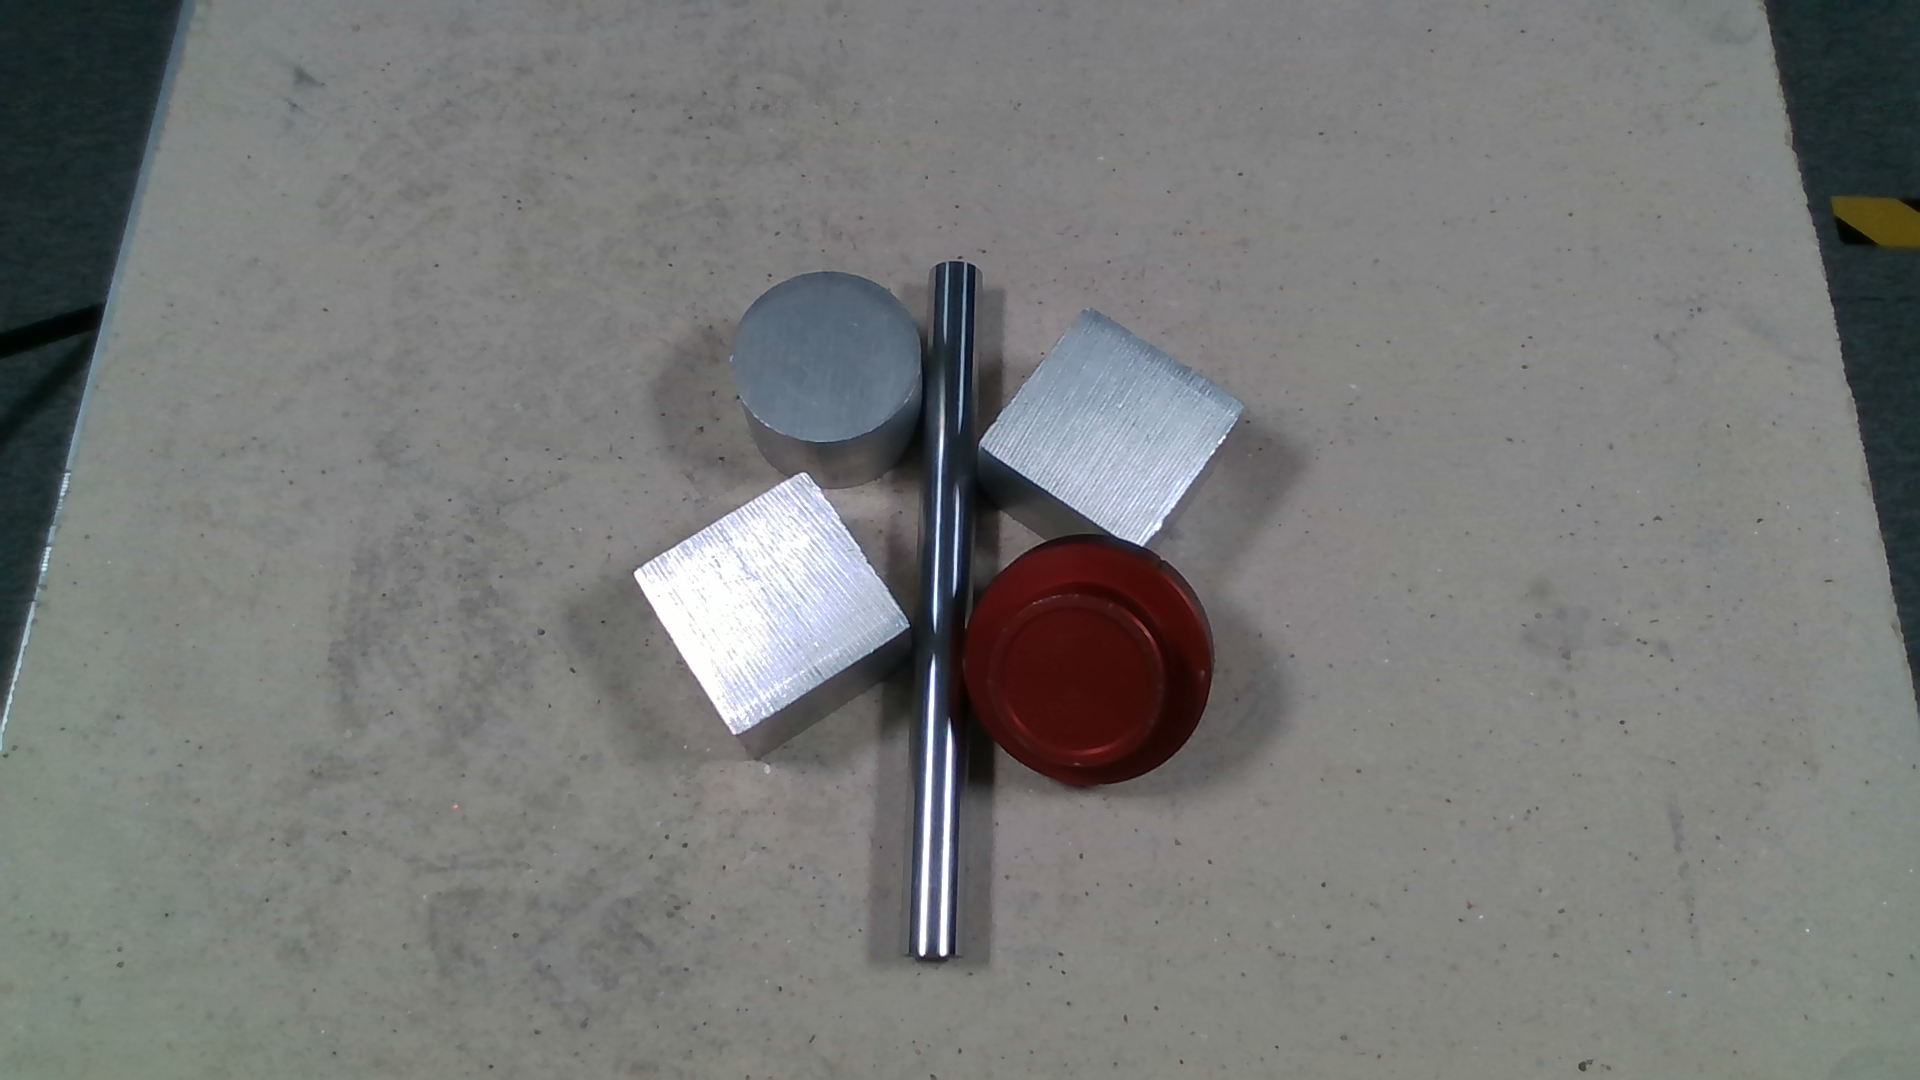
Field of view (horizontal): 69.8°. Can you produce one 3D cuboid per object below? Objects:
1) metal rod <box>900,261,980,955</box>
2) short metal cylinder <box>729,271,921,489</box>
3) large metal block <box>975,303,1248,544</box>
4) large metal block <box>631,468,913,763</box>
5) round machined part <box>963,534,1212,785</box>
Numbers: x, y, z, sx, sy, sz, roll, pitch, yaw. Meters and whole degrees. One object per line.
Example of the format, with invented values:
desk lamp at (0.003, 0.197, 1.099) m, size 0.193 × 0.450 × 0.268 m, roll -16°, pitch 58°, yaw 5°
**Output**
metal rod at (-0.007, 0.019, 0.582) m, size 0.025 × 0.025 × 0.299 m, roll 2°, pitch 70°, yaw 1°
short metal cylinder at (-0.057, -0.069, 0.599) m, size 0.080 × 0.050 × 0.080 m, roll 0°, pitch 70°, yaw 0°
large metal block at (0.062, -0.039, 0.587) m, size 0.080 × 0.050 × 0.080 m, roll 35°, pitch 74°, yaw 12°
large metal block at (-0.074, 0.031, 0.564) m, size 0.080 × 0.050 × 0.080 m, roll -32°, pitch 73°, yaw -11°
round machined part at (0.048, 0.048, 0.537) m, size 0.098 × 0.042 × 0.098 m, roll 2°, pitch 98°, yaw 14°
